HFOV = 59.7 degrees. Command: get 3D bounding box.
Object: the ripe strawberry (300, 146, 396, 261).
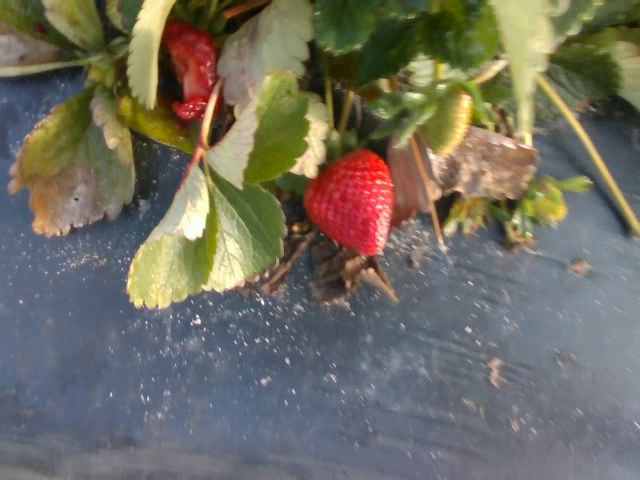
[{"bbox_3d":[0.009,-0.008,0.160,0.031,0.030,0.026,-23,-10,1],"label":"ripe strawberry"}]
